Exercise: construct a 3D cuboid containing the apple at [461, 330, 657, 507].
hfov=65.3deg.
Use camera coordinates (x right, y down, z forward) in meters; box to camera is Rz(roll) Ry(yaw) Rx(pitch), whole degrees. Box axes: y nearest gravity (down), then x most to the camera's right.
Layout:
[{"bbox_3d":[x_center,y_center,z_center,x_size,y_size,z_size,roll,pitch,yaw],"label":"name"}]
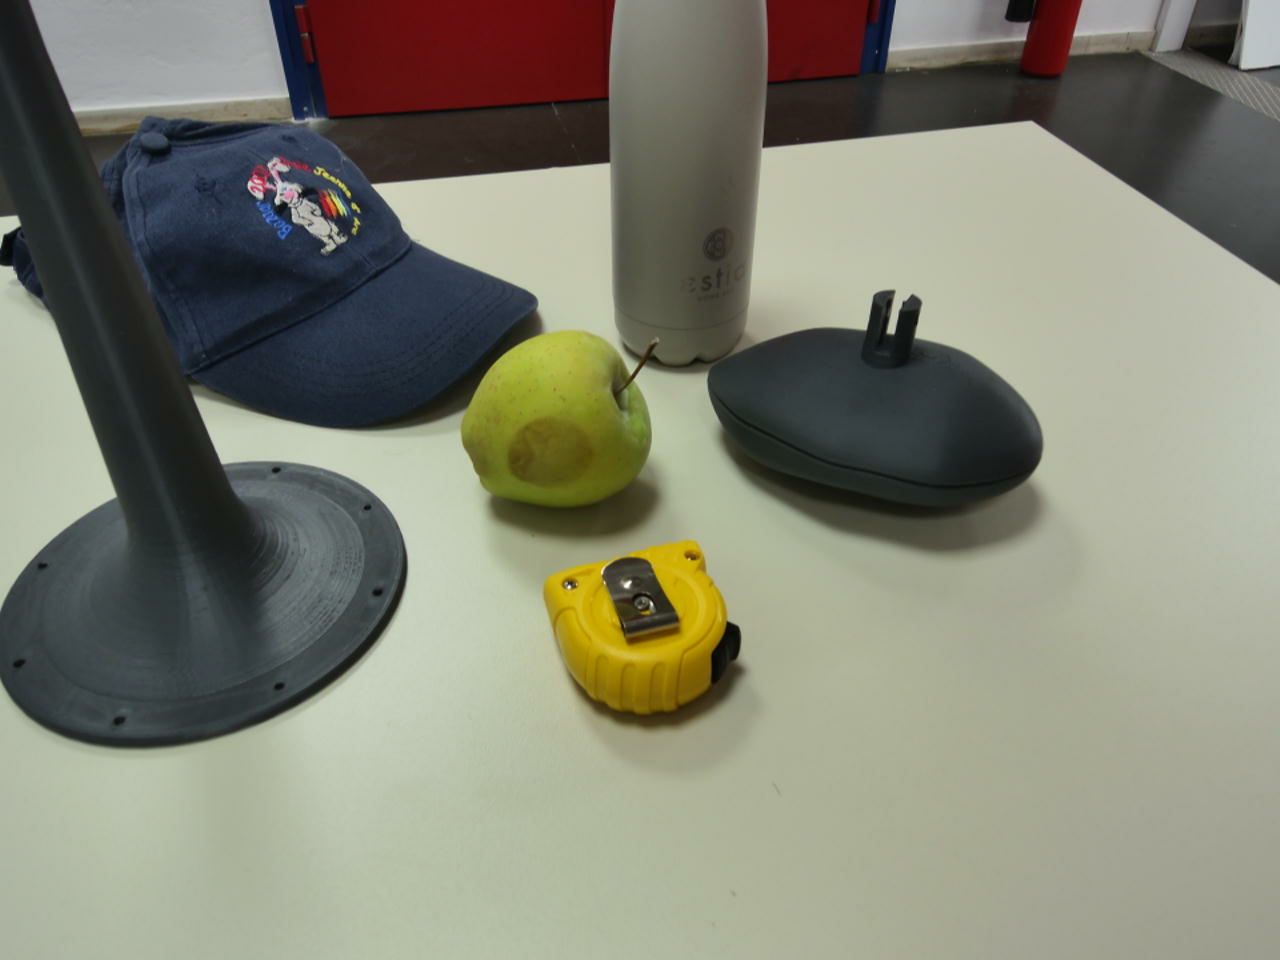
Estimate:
[{"bbox_3d":[-0.033,-0.026,0.420,0.077,0.075,0.072,21,42,23],"label":"apple"}]
